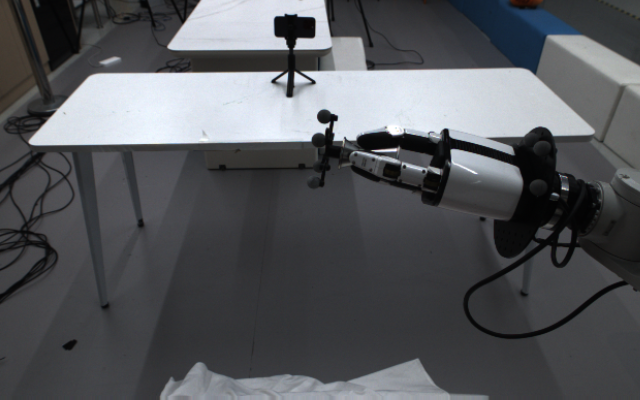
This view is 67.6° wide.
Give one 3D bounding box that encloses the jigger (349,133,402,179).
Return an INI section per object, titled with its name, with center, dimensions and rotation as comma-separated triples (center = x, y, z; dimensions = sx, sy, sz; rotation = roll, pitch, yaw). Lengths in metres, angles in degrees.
[jigger]
center = 0.065, -0.053, 0.588
dimensions = 0.071, 0.043, 0.043
rotation = 10, 35, 4
